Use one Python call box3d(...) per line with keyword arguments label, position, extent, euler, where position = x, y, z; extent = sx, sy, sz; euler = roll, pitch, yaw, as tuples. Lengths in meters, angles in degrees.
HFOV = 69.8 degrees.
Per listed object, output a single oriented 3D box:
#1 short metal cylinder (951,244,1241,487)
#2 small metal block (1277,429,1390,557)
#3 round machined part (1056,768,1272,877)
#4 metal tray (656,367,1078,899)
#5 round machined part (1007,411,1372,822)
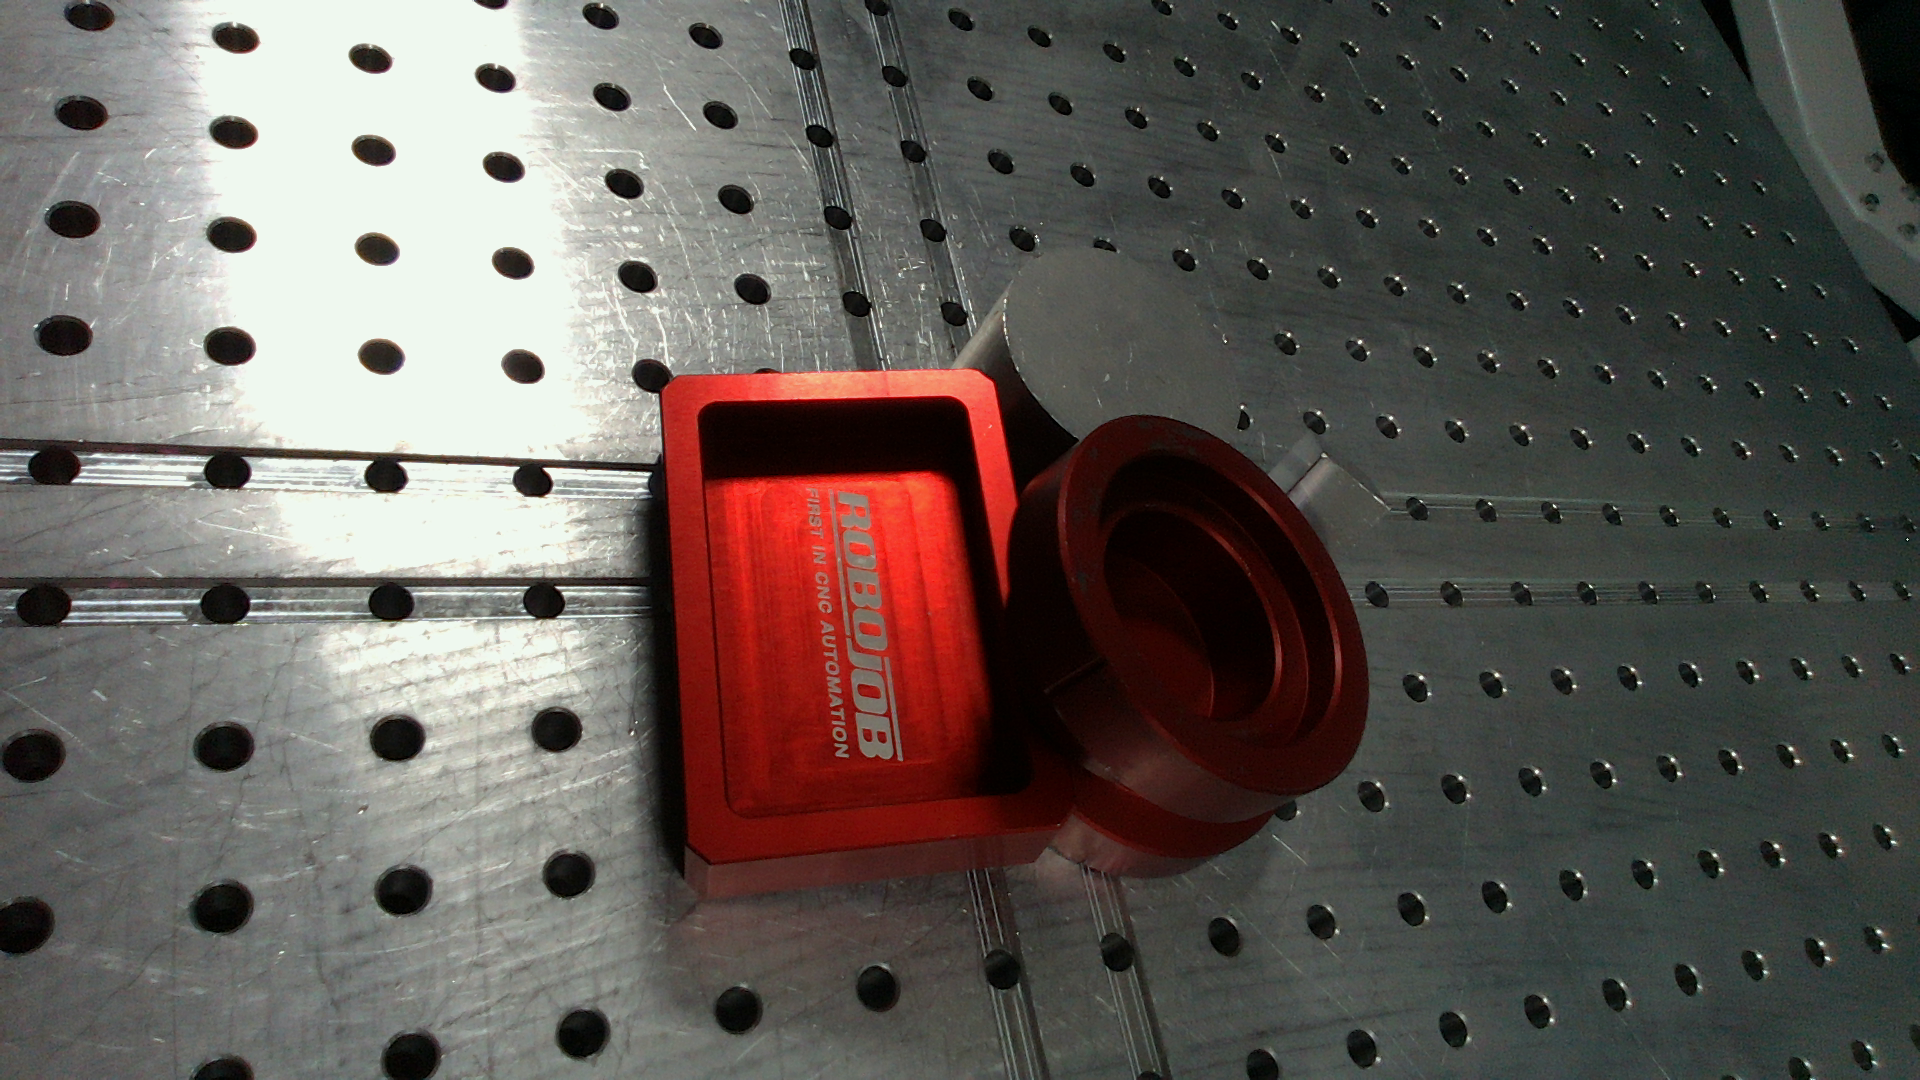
box3d(label="short metal cylinder", position=(0.038, -0.043, 0.423), extent=(0.080, 0.050, 0.080), euler=(14, 56, -21))
box3d(label="small metal block", position=(0.101, -0.004, 0.421), extent=(0.025, 0.050, 0.050), euler=(40, 16, -1))
box3d(label="round machined part", position=(0.054, 0.041, 0.385), extent=(0.098, 0.042, 0.098), euler=(14, 56, -21))
box3d(label="metal tray", position=(-0.028, 0.018, 0.349), extent=(0.090, 0.030, 0.130), euler=(-3, 62, -13))
box3d(label="round machined part", position=(0.051, 0.021, 0.334), extent=(0.098, 0.042, 0.098), euler=(21, 52, -29))
